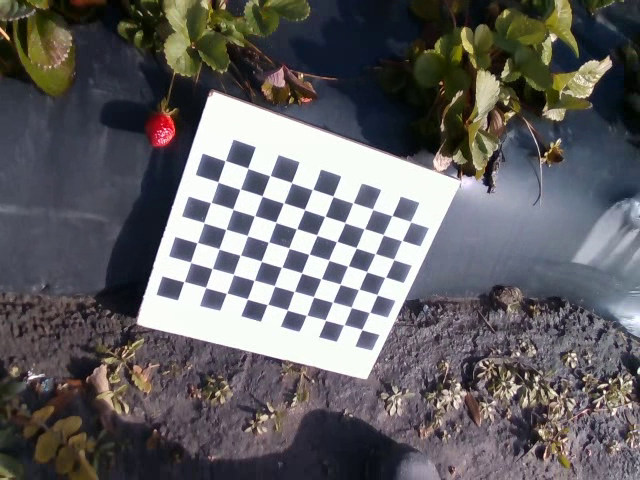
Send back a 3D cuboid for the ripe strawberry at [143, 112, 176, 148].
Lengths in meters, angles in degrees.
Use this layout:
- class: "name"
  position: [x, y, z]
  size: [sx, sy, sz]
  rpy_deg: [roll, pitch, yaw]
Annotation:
- class: "ripe strawberry"
  position: [-0.140, -0.094, 0.516]
  size: [0.034, 0.038, 0.033]
  rpy_deg: [16, -34, -15]
